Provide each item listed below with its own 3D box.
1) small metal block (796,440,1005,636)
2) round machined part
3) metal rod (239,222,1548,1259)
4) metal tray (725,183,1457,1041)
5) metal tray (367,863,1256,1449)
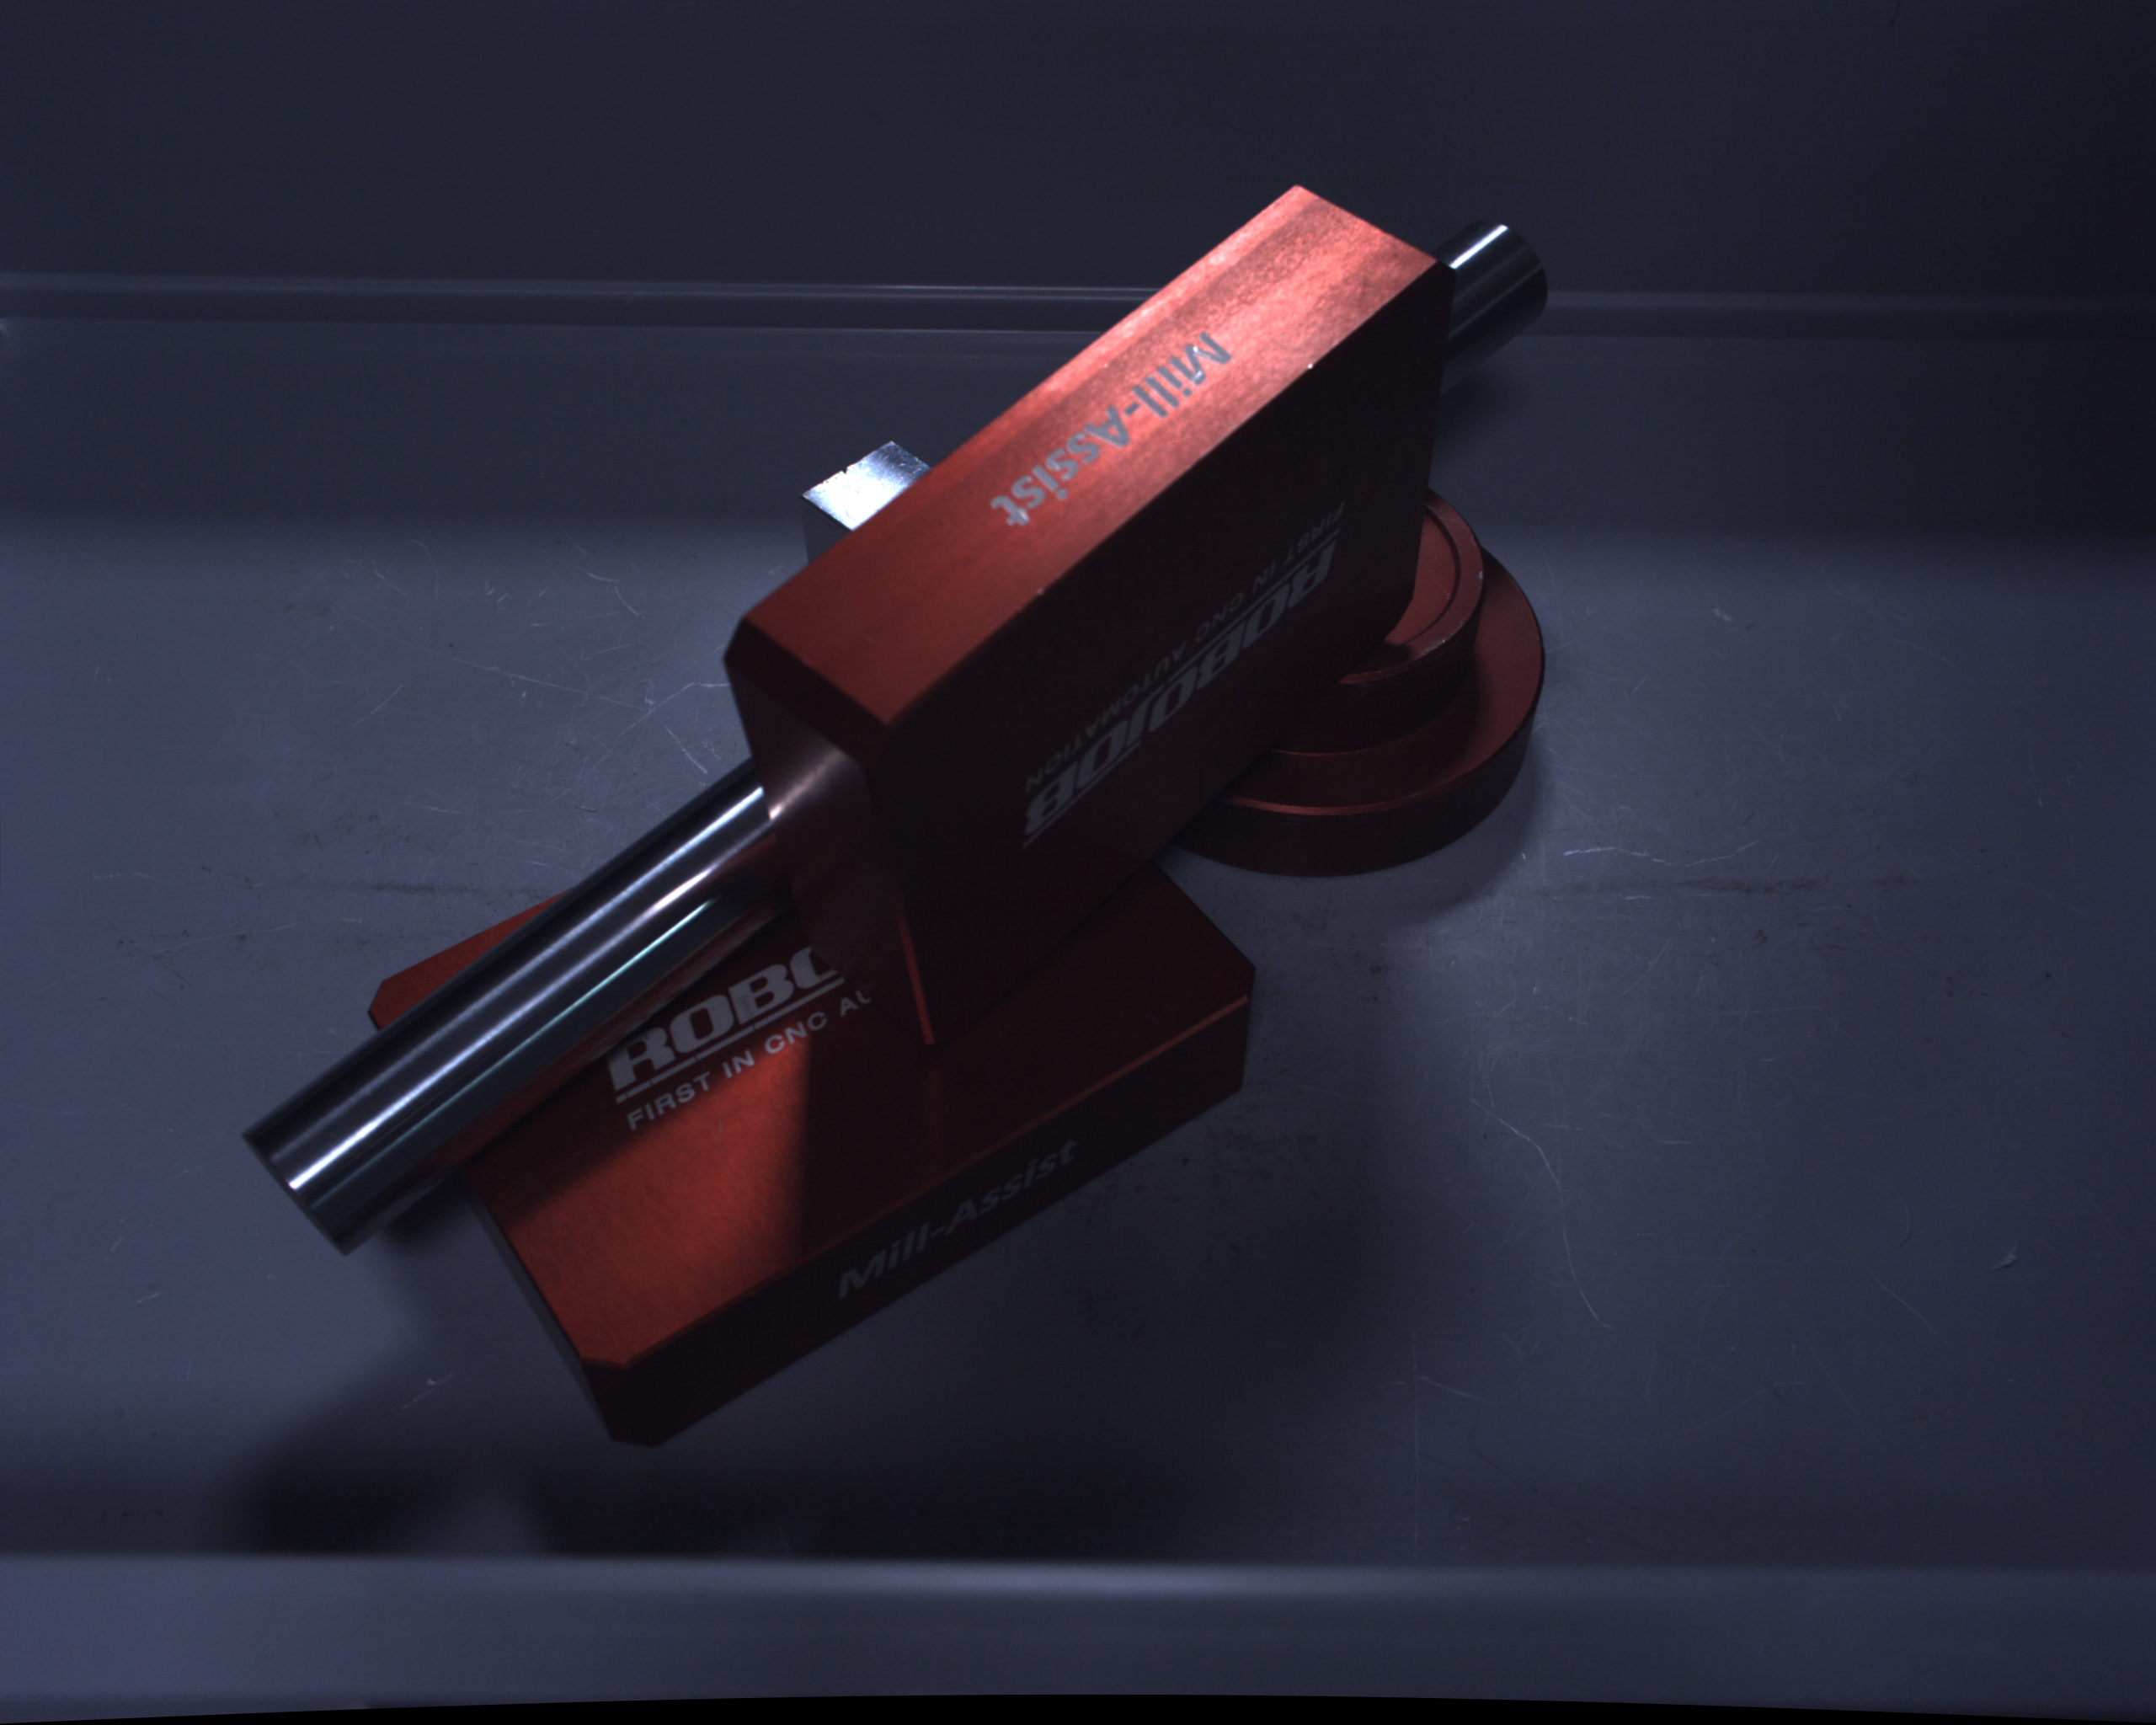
[{"bbox_3d":[-0.030,-0.050,0.429,0.025,0.050,0.050,-37,60,-27],"label":"small metal block"},{"bbox_3d":[0.047,-0.048,0.432,0.099,0.042,0.098,0,50,0],"label":"round machined part"},{"bbox_3d":[-0.016,-0.037,0.383,0.025,0.025,0.301,37,63,26],"label":"metal rod"},{"bbox_3d":[0.007,-0.040,0.346,0.030,0.090,0.131,37,65,23],"label":"metal tray"},{"bbox_3d":[-0.046,0.032,0.373,0.131,0.030,0.090,-28,56,-22],"label":"metal tray"}]
